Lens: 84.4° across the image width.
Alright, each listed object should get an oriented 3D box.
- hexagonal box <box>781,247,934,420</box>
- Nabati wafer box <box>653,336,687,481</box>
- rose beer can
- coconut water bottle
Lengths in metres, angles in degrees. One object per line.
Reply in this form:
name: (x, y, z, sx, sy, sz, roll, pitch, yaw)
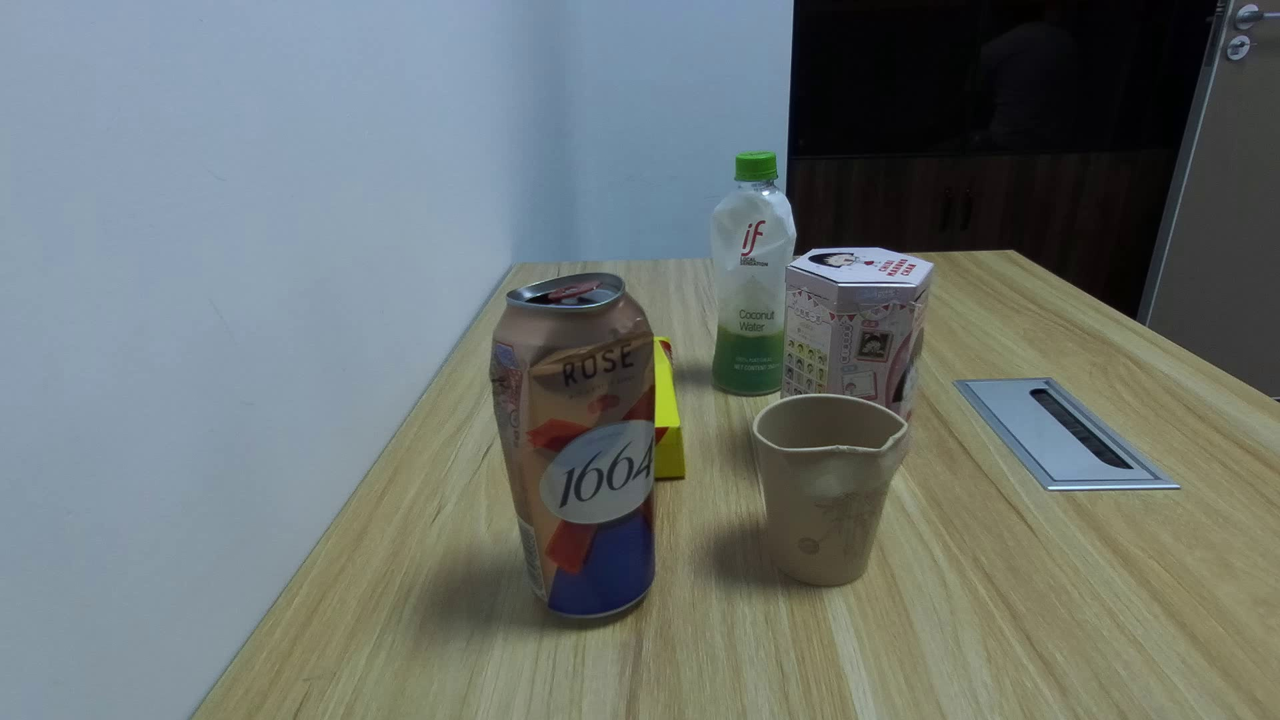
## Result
hexagonal box: (0.139, 0.002, 0.461, 0.083, 0.136, 0.091, 11, 27, 27)
Nabati wafer box: (-0.019, 0.023, 0.547, 0.096, 0.042, 0.203, -1, 23, 0)
rose beer can: (-0.028, 0.045, 0.349, 0.076, 0.167, 0.065, -14, 22, -19)
coconut water bottle: (0.089, -0.066, 0.559, 0.067, 0.187, 0.067, -2, 21, 1)
